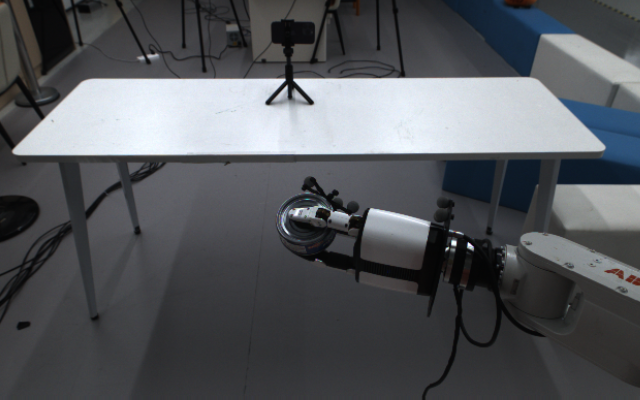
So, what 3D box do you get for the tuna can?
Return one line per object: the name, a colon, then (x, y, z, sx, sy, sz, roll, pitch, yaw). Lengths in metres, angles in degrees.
tuna can: (-0.017, 0.032, 0.686, 0.085, 0.034, 0.085, -4, 58, 6)
